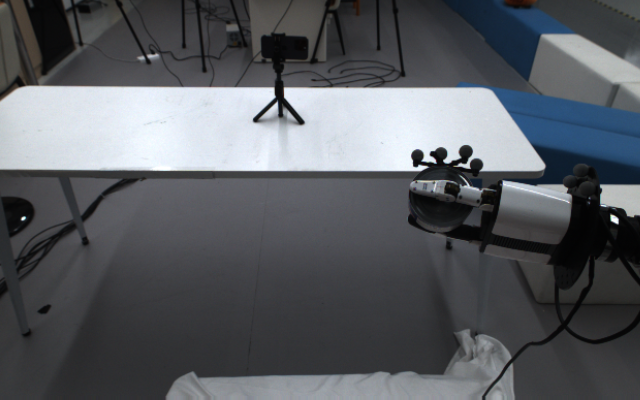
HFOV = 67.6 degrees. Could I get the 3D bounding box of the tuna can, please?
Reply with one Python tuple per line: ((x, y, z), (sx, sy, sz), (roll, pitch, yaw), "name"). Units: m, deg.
((0.162, -0.005, 0.650), (0.085, 0.034, 0.085), (-2, 70, 6), "tuna can")
